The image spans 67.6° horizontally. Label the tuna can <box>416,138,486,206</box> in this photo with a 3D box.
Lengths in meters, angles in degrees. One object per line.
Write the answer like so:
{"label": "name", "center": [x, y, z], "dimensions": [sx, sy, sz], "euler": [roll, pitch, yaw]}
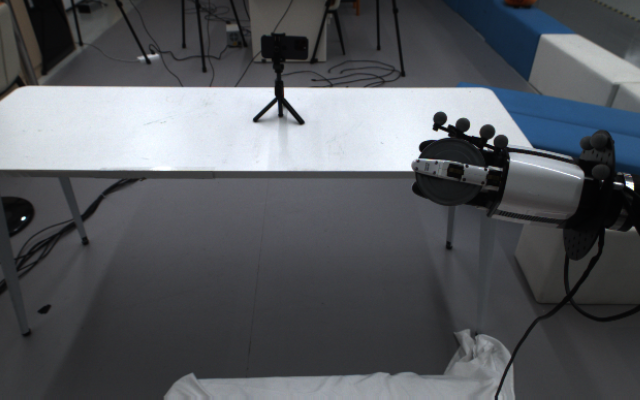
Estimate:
{"label": "tuna can", "center": [0.169, -0.037, 0.617], "dimensions": [0.085, 0.085, 0.034], "euler": [13, 3, 15]}
